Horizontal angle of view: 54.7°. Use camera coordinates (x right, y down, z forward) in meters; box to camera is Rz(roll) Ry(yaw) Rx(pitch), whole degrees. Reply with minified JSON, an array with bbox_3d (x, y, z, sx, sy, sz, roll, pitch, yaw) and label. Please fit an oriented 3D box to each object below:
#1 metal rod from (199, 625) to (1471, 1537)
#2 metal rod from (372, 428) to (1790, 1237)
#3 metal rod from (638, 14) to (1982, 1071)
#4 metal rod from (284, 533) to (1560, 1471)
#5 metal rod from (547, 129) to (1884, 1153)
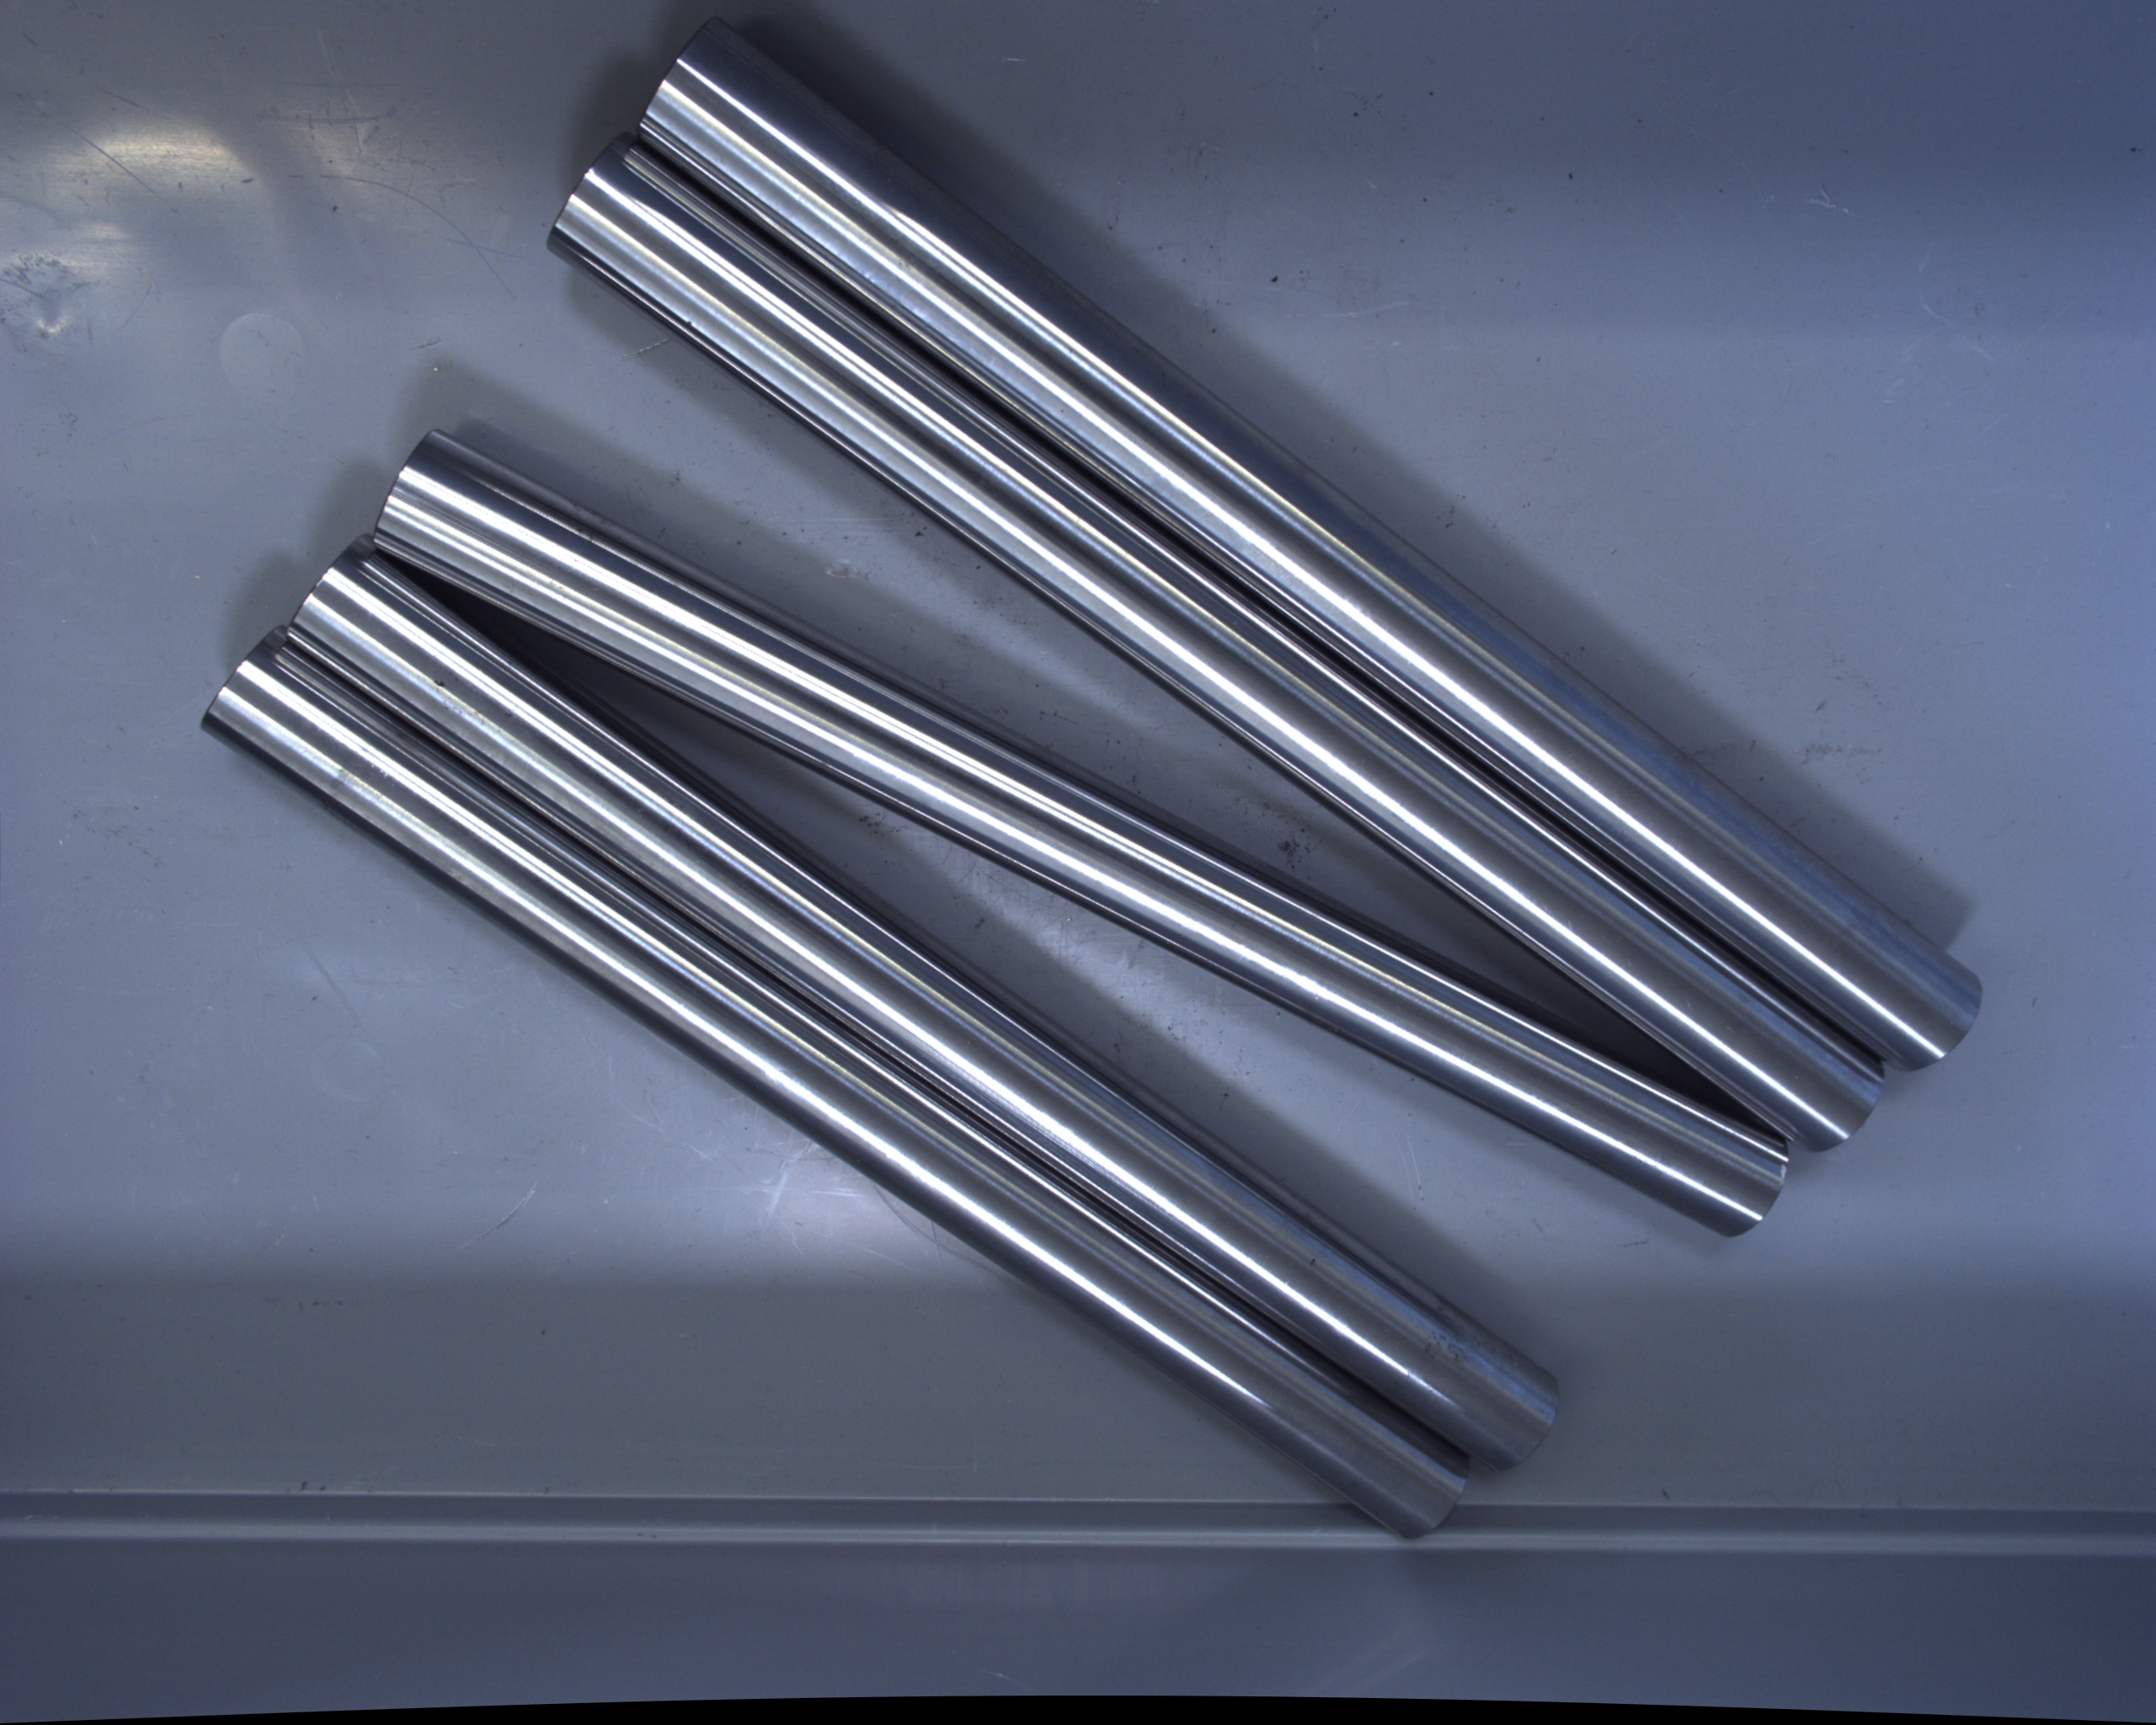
[{"bbox_3d":[-0.040,0.051,0.428,0.301,0.025,0.025,36,106,-13],"label":"metal rod"},{"bbox_3d":[0.008,-0.001,0.410,0.301,0.025,0.025,27,108,-10],"label":"metal rod"},{"bbox_3d":[0.052,-0.052,0.391,0.301,0.025,0.025,35,106,-12],"label":"metal rod"},{"bbox_3d":[-0.022,0.035,0.423,0.301,0.025,0.025,36,106,-13],"label":"metal rod"},{"bbox_3d":[0.035,-0.034,0.397,0.301,0.025,0.025,35,106,-12],"label":"metal rod"}]
